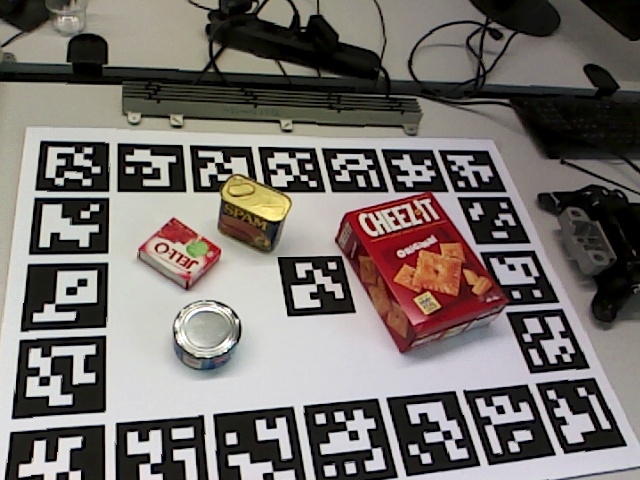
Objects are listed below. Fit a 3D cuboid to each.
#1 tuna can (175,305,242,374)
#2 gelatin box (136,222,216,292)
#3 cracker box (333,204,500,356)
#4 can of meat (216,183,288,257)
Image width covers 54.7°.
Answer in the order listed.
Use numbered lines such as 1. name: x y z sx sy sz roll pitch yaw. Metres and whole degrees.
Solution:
1. tuna can: -0.148 0.132 0.817 0.085 0.034 0.086 7 53 -9
2. gelatin box: -0.209 0.023 0.896 0.089 0.030 0.073 33 48 9
3. cracker box: 0.145 0.052 0.949 0.163 0.072 0.215 -15 55 -27
4. can of meat: -0.106 -0.028 0.941 0.102 0.083 0.058 22 49 4
